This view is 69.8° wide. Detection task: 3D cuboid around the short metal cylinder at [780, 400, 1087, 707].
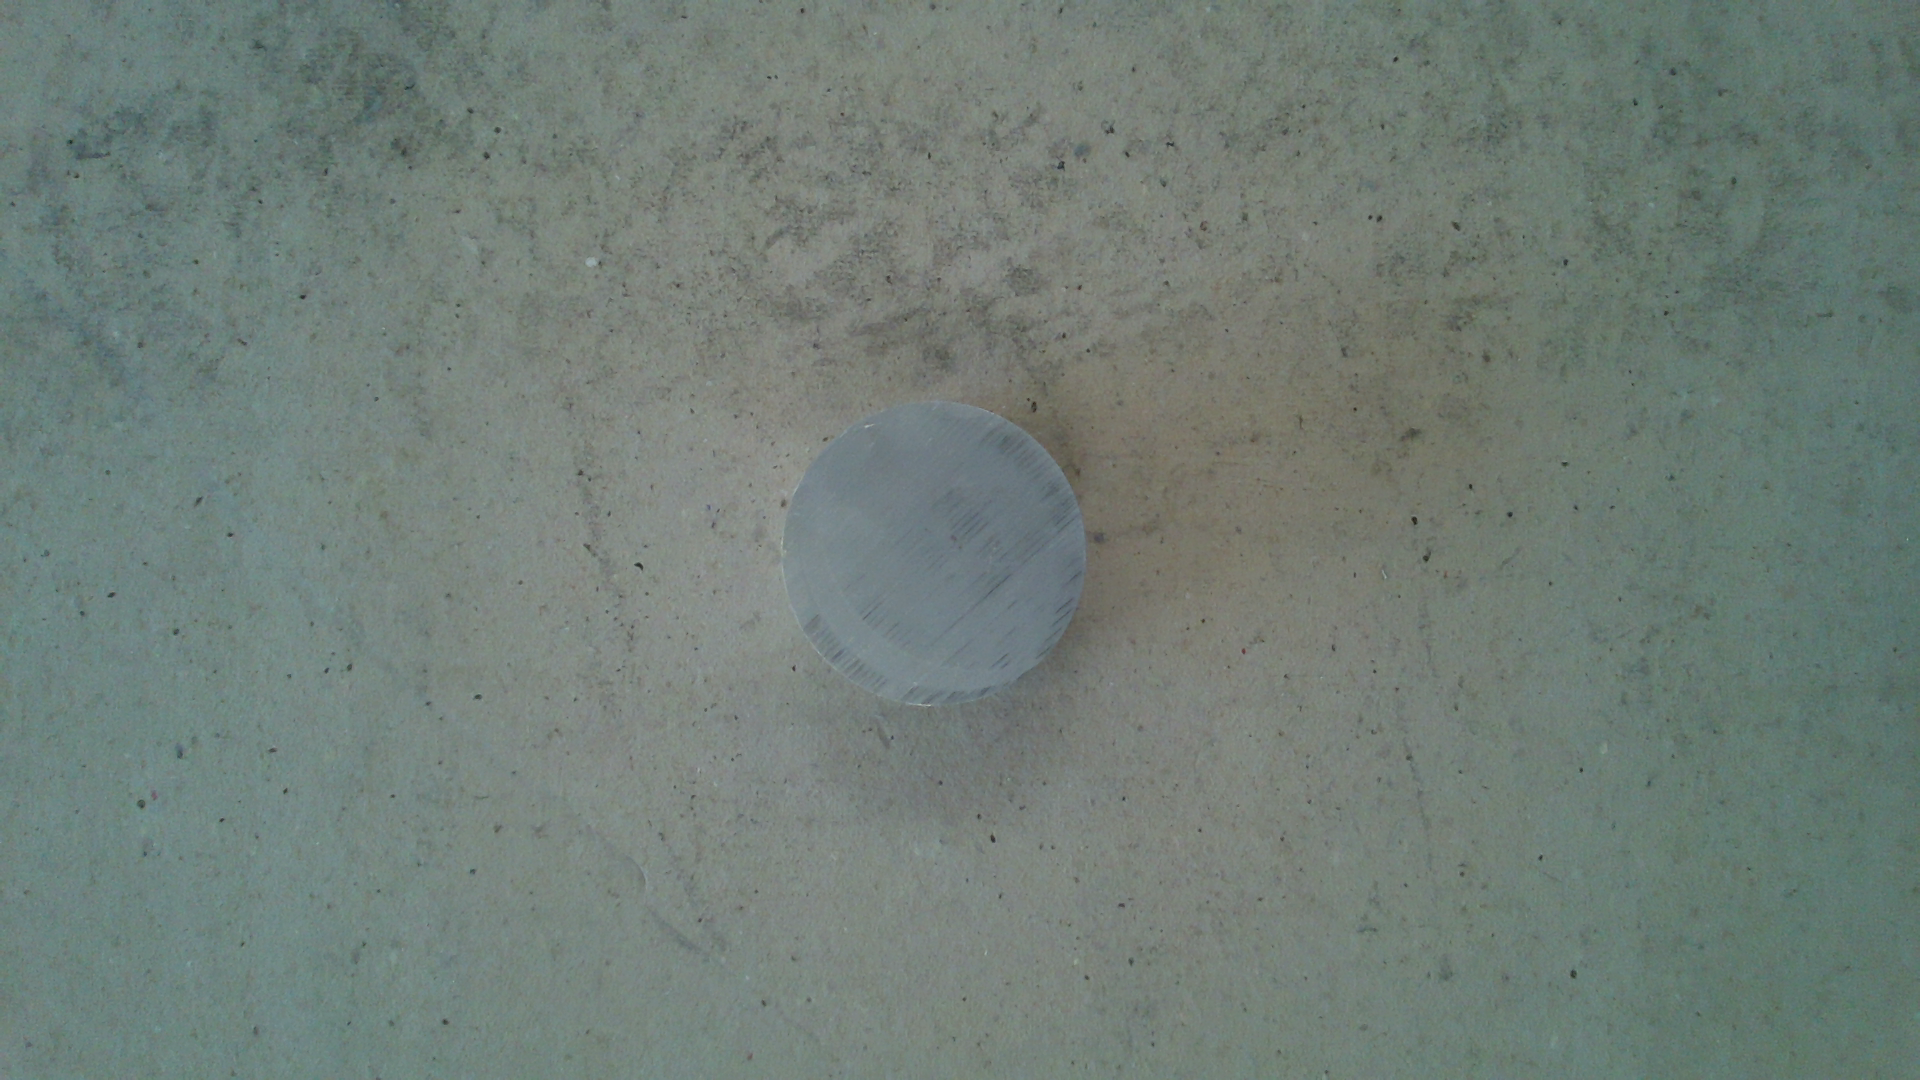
[{"bbox_3d":[-0.007,0.003,0.383,0.080,0.050,0.080,0,90,-1],"label":"short metal cylinder"}]
